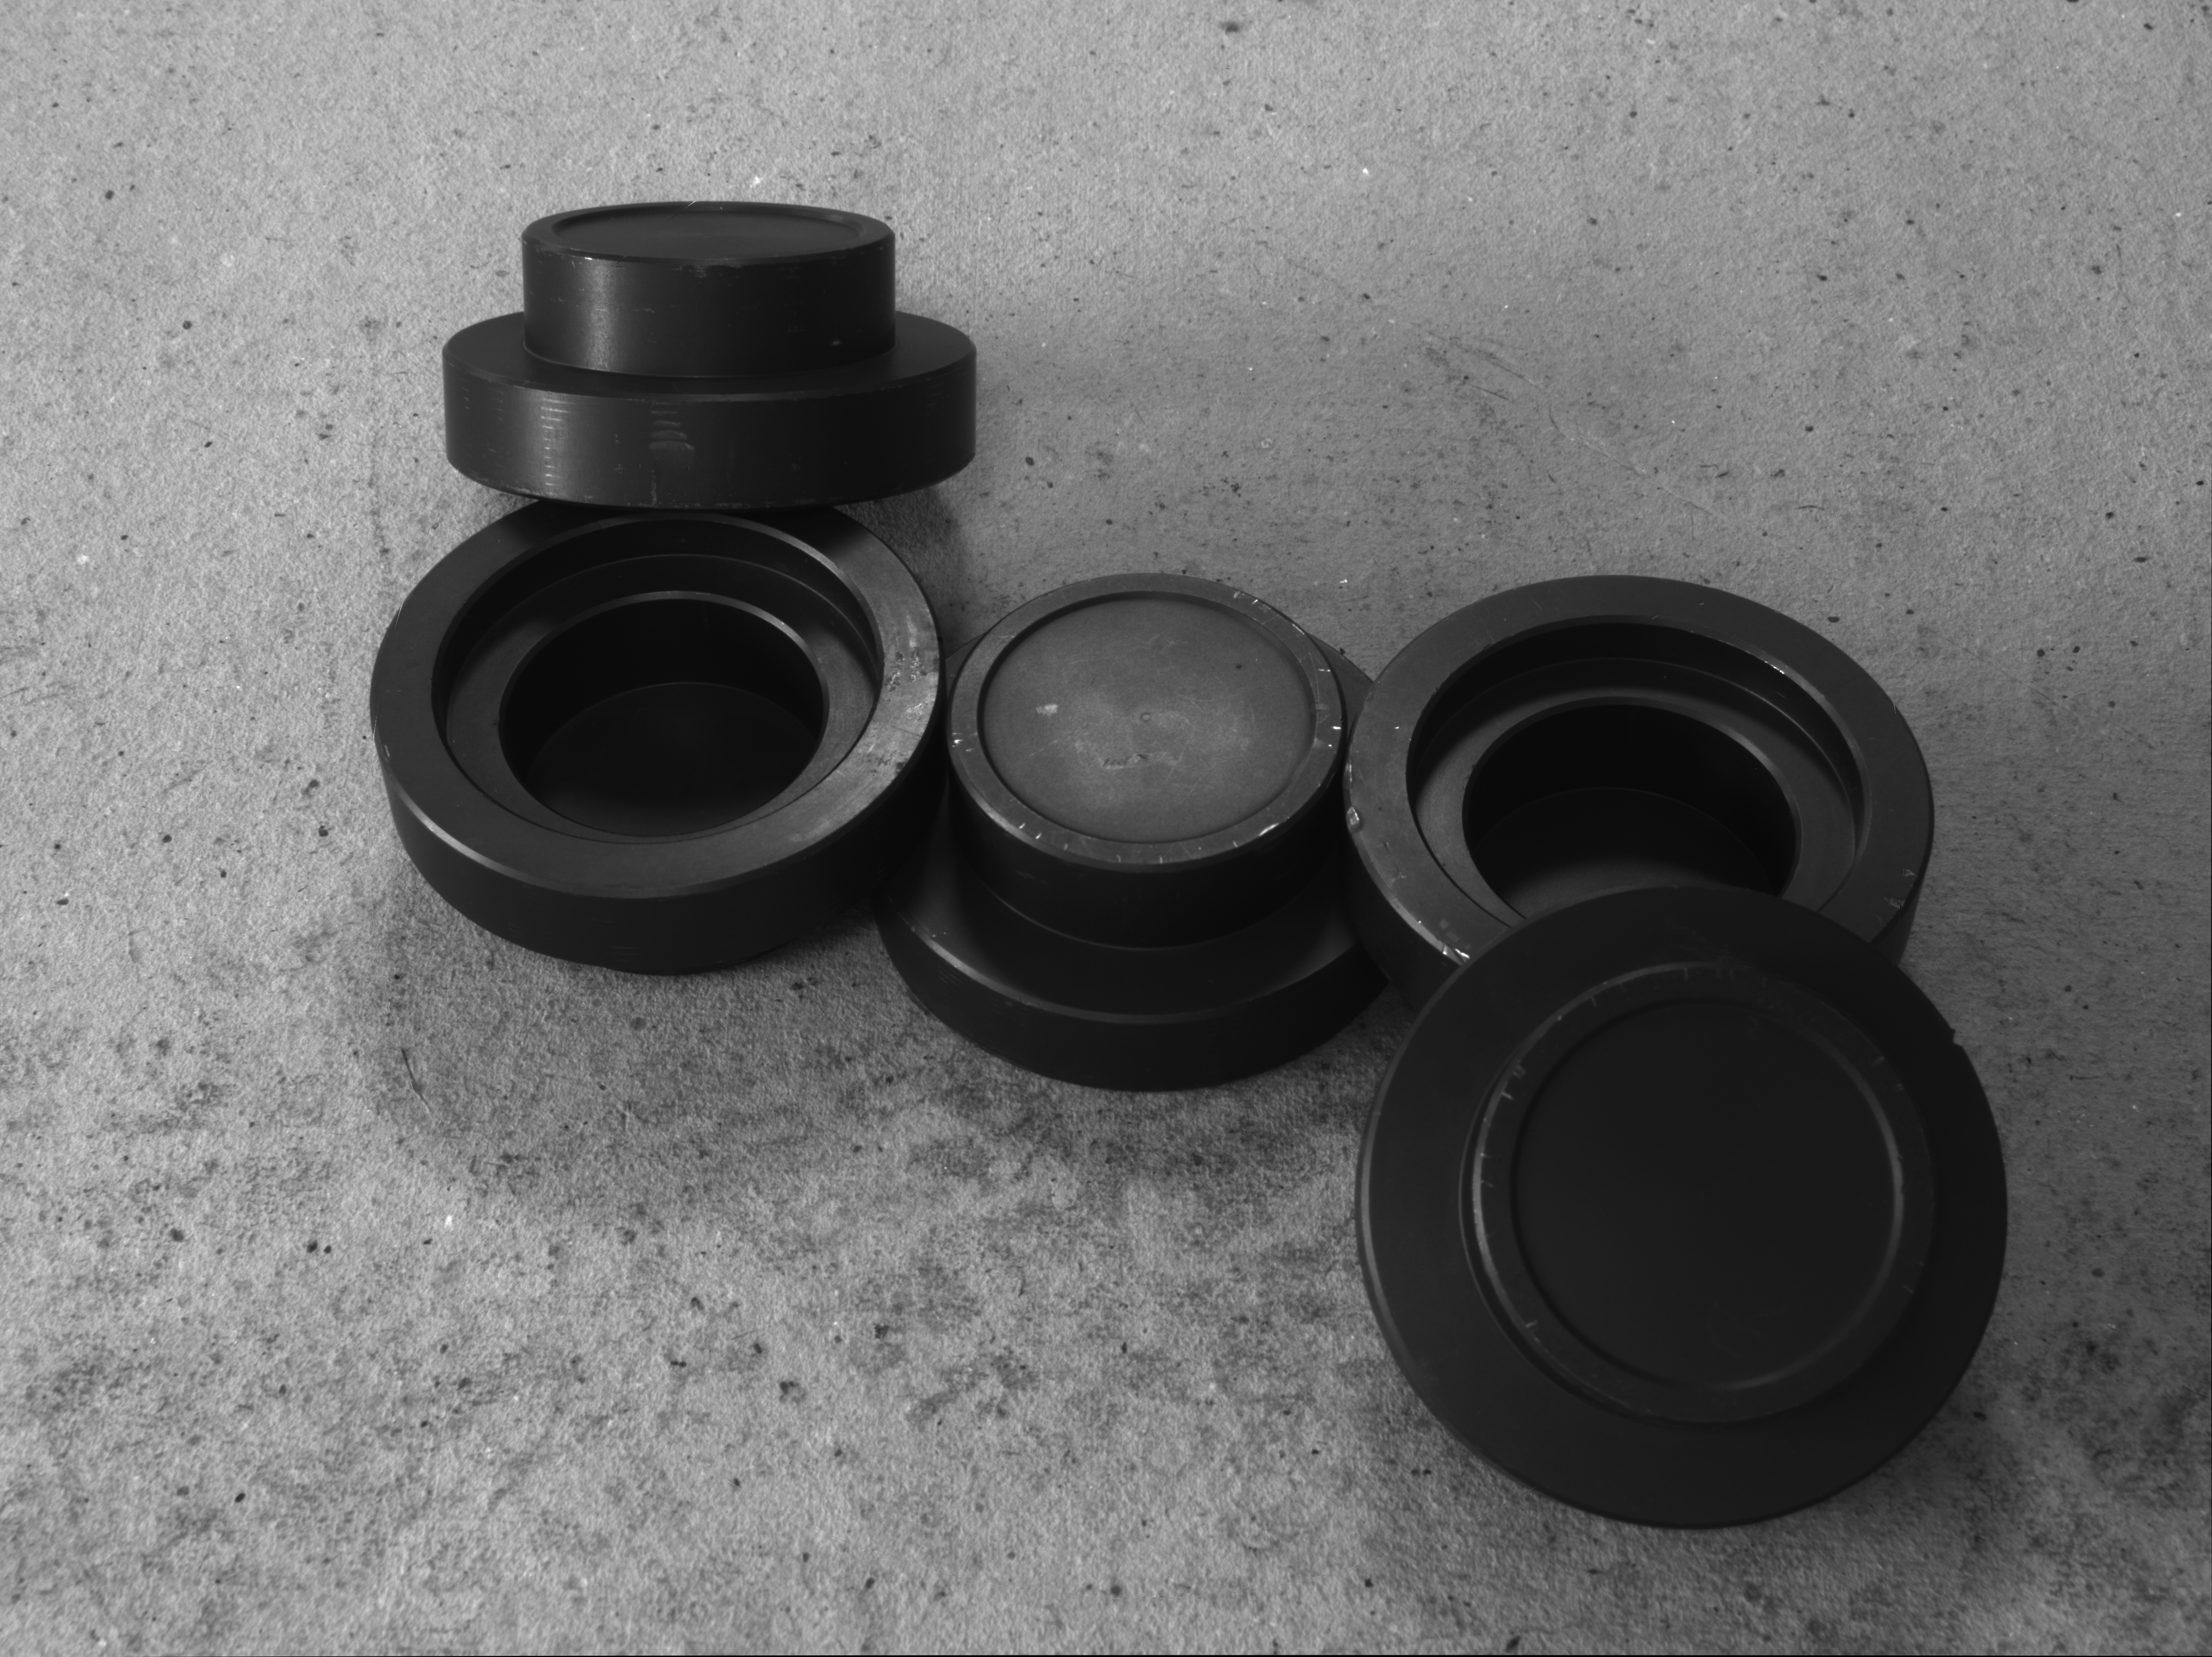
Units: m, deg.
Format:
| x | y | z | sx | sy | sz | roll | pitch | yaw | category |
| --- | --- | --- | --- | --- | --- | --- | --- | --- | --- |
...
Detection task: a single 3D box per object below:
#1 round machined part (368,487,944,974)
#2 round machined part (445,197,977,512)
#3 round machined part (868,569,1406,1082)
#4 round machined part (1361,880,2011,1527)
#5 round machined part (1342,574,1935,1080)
| x | y | z | sx | sy | sz | roll | pitch | yaw | category |
| --- | --- | --- | --- | --- | --- | --- | --- | --- | --- |
| -0.076 | -0.014 | 0.642 | 0.098 | 0.042 | 0.098 | 0 | 50 | 1 | round machined part |
| -0.073 | -0.091 | 0.678 | 0.098 | 0.042 | 0.098 | 1 | 19 | 0 | round machined part |
| 0.007 | -0.007 | 0.635 | 0.098 | 0.042 | 0.098 | -1 | 48 | 1 | round machined part |
| 0.088 | 0.056 | 0.554 | 0.098 | 0.042 | 0.098 | 0 | 79 | 0 | round machined part |
| 0.089 | 0.006 | 0.625 | 0.098 | 0.042 | 0.098 | 0 | 50 | 1 | round machined part |
